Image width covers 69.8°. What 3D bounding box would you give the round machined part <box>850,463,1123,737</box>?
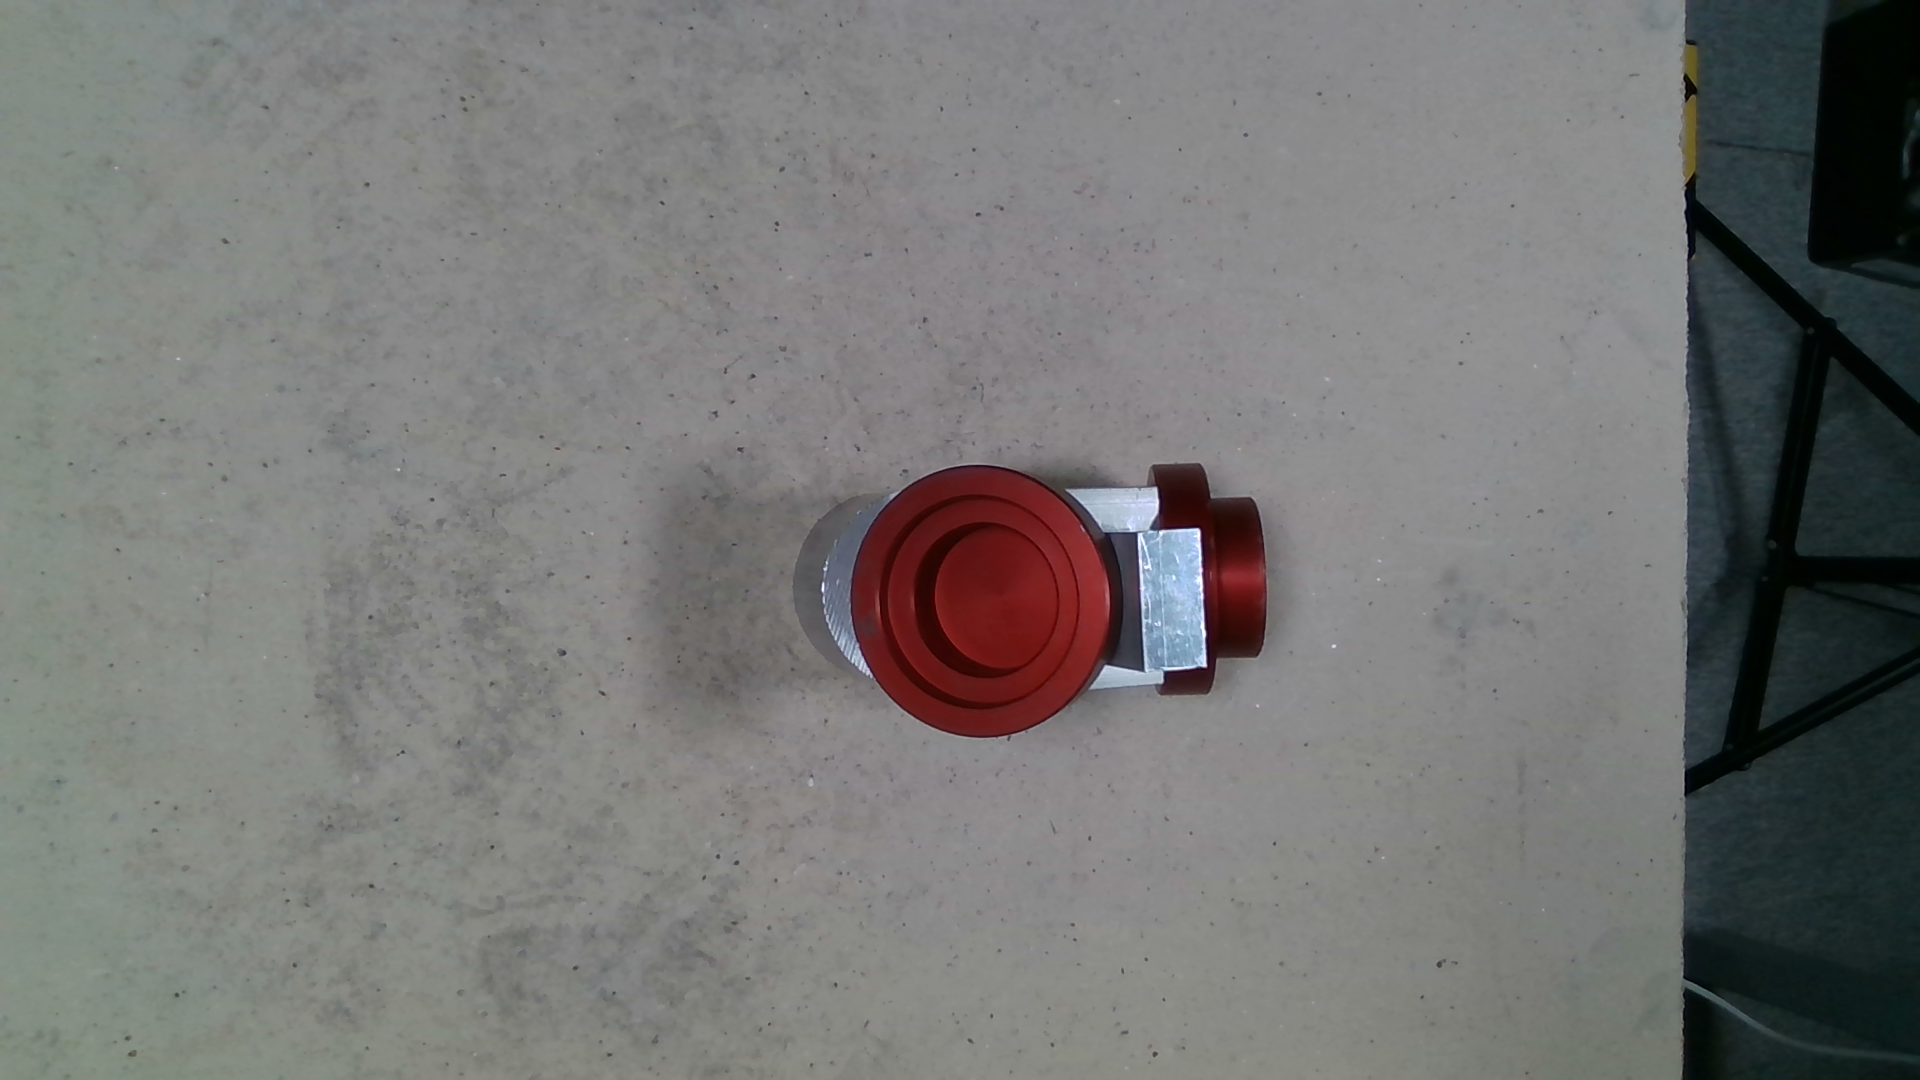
[{"bbox_3d":[0.012,0.021,0.511,0.098,0.042,0.098,0,91,18],"label":"round machined part"}]

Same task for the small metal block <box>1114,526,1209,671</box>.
[{"bbox_3d":[0.067,0.021,0.512,0.025,0.050,0.050,-3,91,-21],"label":"small metal block"}]

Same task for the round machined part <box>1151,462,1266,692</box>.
[{"bbox_3d":[0.103,0.016,0.581,0.042,0.098,0.098,-2,91,5],"label":"round machined part"}]

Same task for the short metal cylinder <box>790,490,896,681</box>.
[{"bbox_3d":[-0.025,0.019,0.565,0.080,0.050,0.080,0,90,-20],"label":"short metal cylinder"}]

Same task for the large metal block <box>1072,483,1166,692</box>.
[{"bbox_3d":[0.043,0.019,0.572,0.050,0.080,0.080,-2,91,-20],"label":"large metal block"}]
